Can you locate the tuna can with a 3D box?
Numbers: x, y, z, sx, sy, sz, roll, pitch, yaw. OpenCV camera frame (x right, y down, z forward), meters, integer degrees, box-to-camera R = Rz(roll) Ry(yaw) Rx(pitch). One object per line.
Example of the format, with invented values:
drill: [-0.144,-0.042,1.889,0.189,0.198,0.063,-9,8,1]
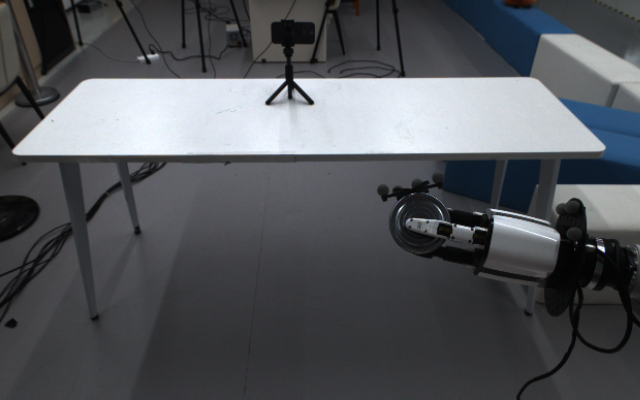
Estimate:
tuna can: [0.143,0.030,0.683,0.085,0.085,0.034,12,-6,14]
